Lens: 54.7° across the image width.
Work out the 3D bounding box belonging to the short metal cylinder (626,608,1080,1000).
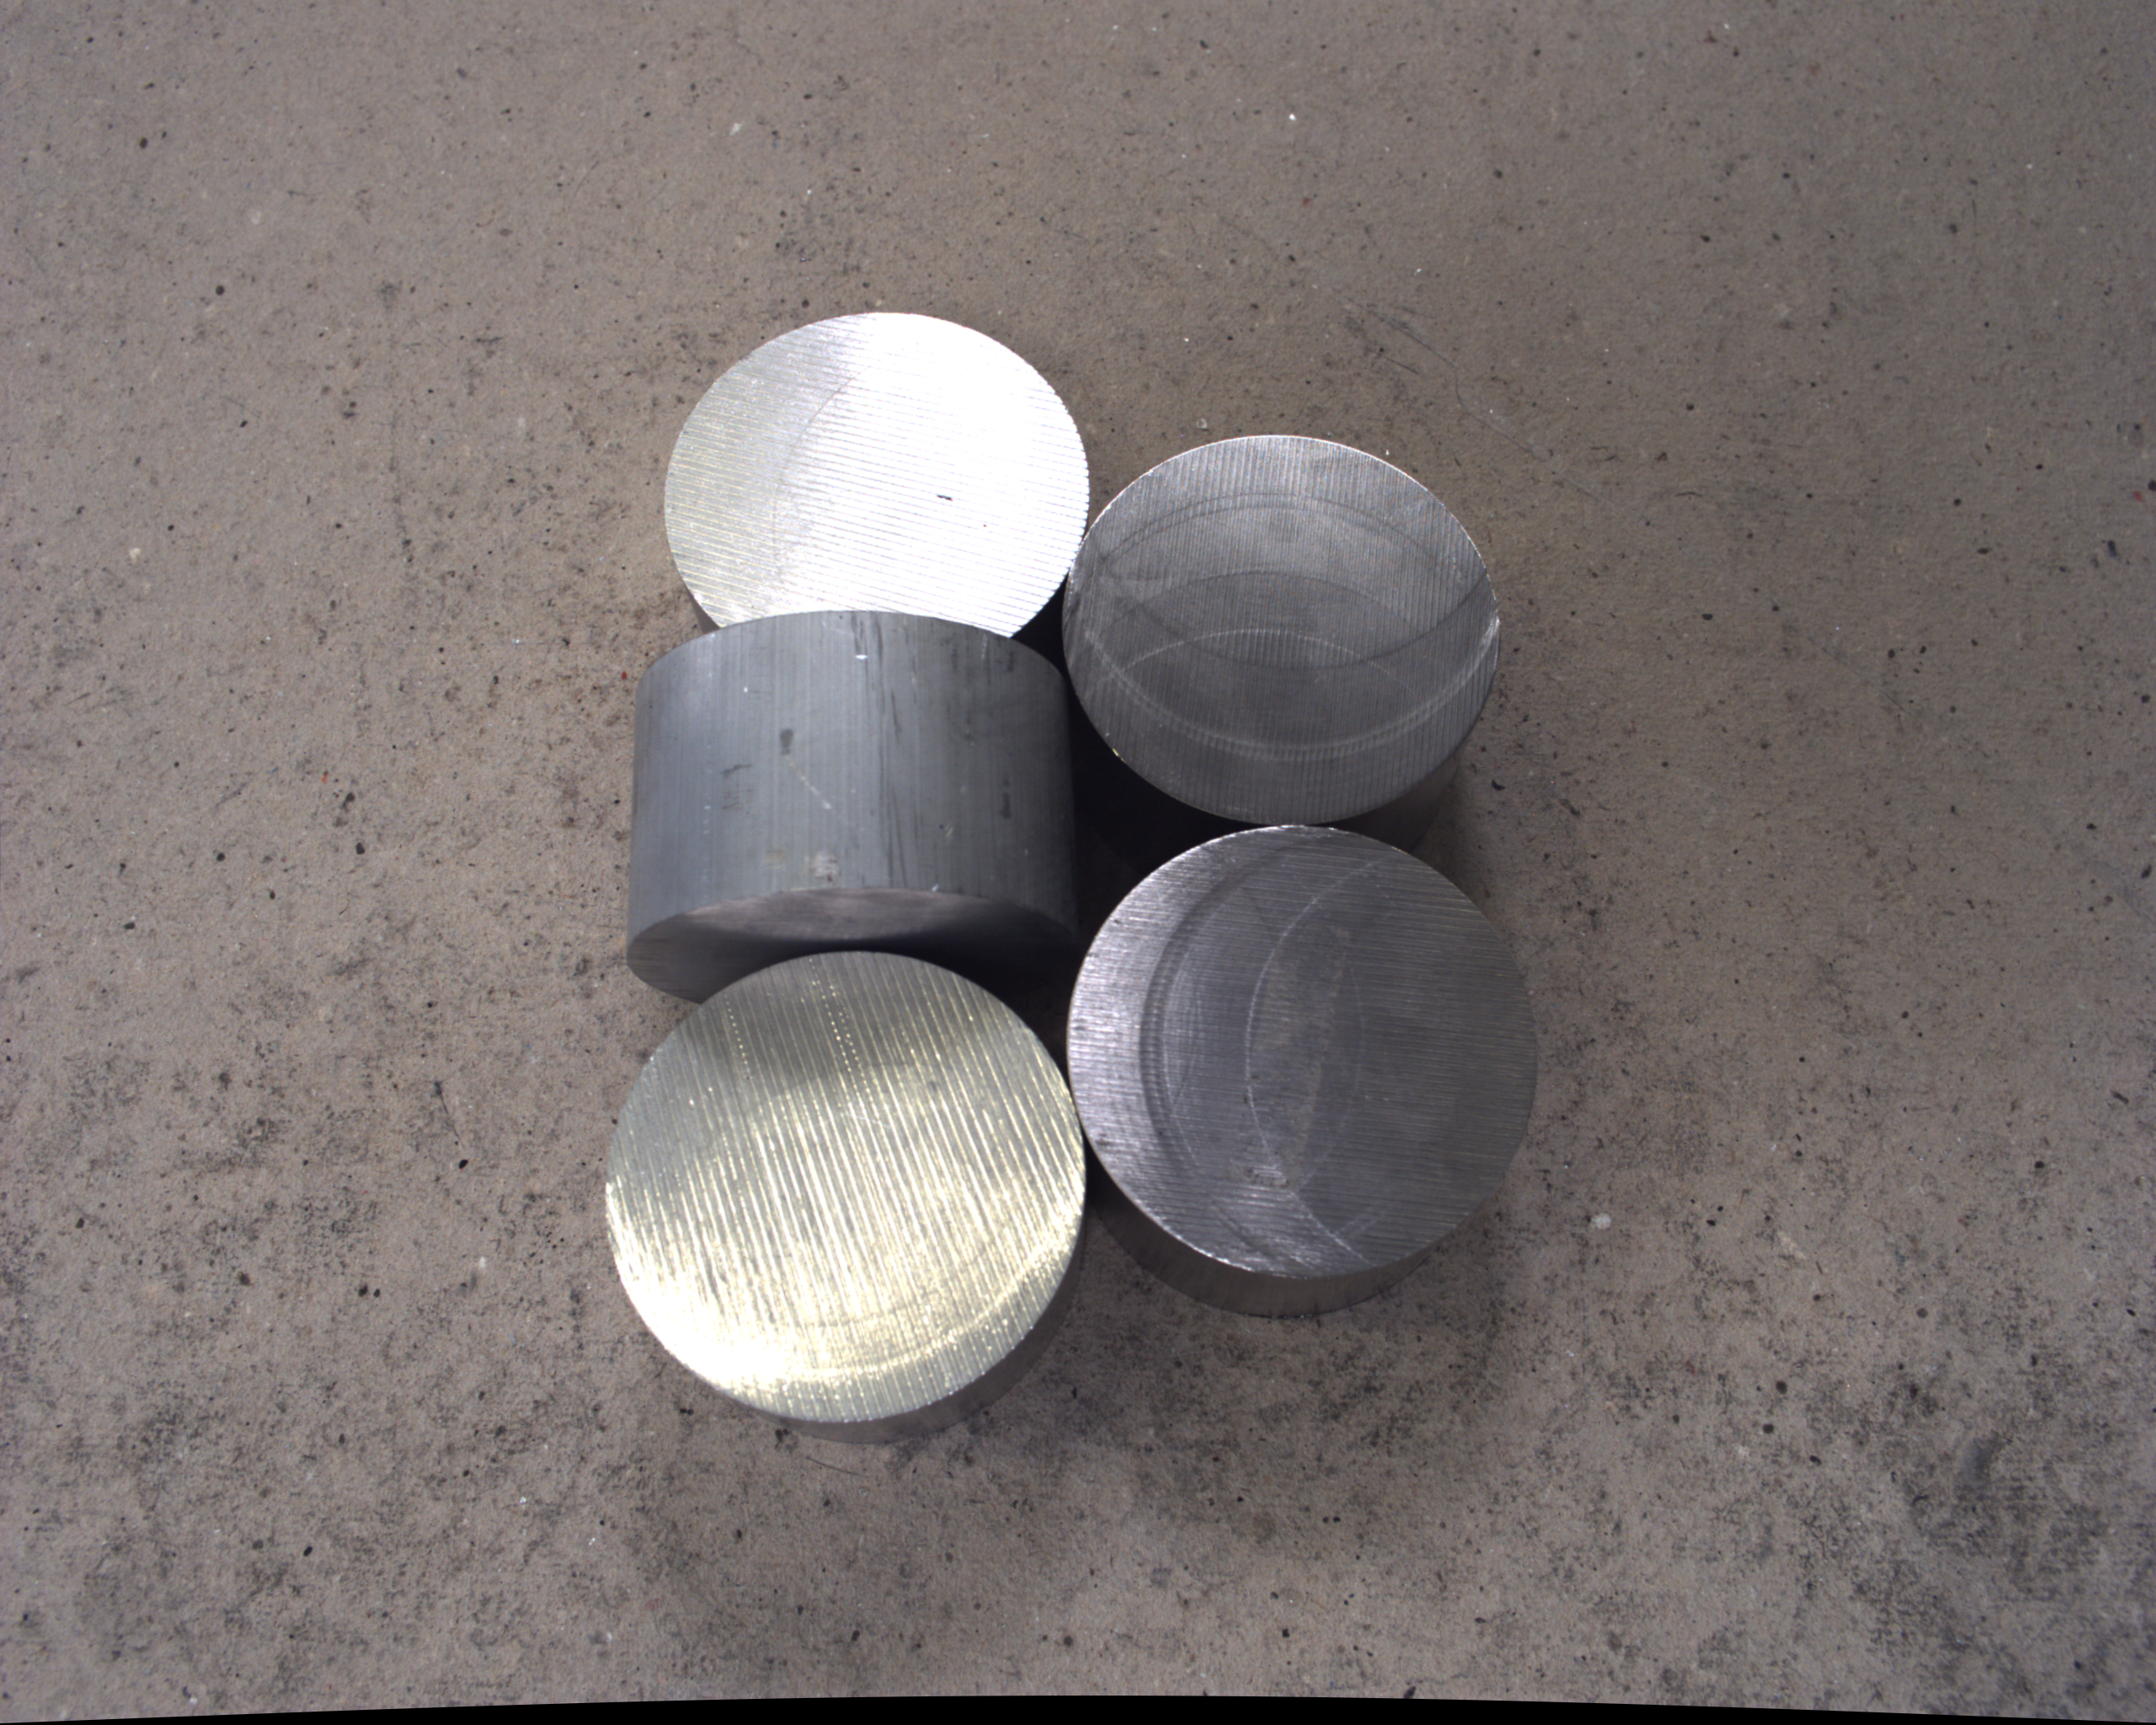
[{"bbox_3d":[-0.041,-0.006,0.382,0.081,0.080,0.050,-3,70,-1],"label":"short metal cylinder"}]

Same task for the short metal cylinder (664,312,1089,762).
[{"bbox_3d":[-0.038,-0.062,0.418,0.080,0.050,0.080,0,70,1],"label":"short metal cylinder"}]

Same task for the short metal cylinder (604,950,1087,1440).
[{"bbox_3d":[-0.039,0.061,0.373,0.080,0.050,0.080,0,70,1],"label":"short metal cylinder"}]

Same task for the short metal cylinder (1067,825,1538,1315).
[{"bbox_3d":[0.039,0.039,0.381,0.080,0.050,0.080,0,70,1],"label":"short metal cylinder"}]

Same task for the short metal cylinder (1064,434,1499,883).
[{"bbox_3d":[0.038,-0.036,0.409,0.081,0.050,0.080,0,71,0],"label":"short metal cylinder"}]
